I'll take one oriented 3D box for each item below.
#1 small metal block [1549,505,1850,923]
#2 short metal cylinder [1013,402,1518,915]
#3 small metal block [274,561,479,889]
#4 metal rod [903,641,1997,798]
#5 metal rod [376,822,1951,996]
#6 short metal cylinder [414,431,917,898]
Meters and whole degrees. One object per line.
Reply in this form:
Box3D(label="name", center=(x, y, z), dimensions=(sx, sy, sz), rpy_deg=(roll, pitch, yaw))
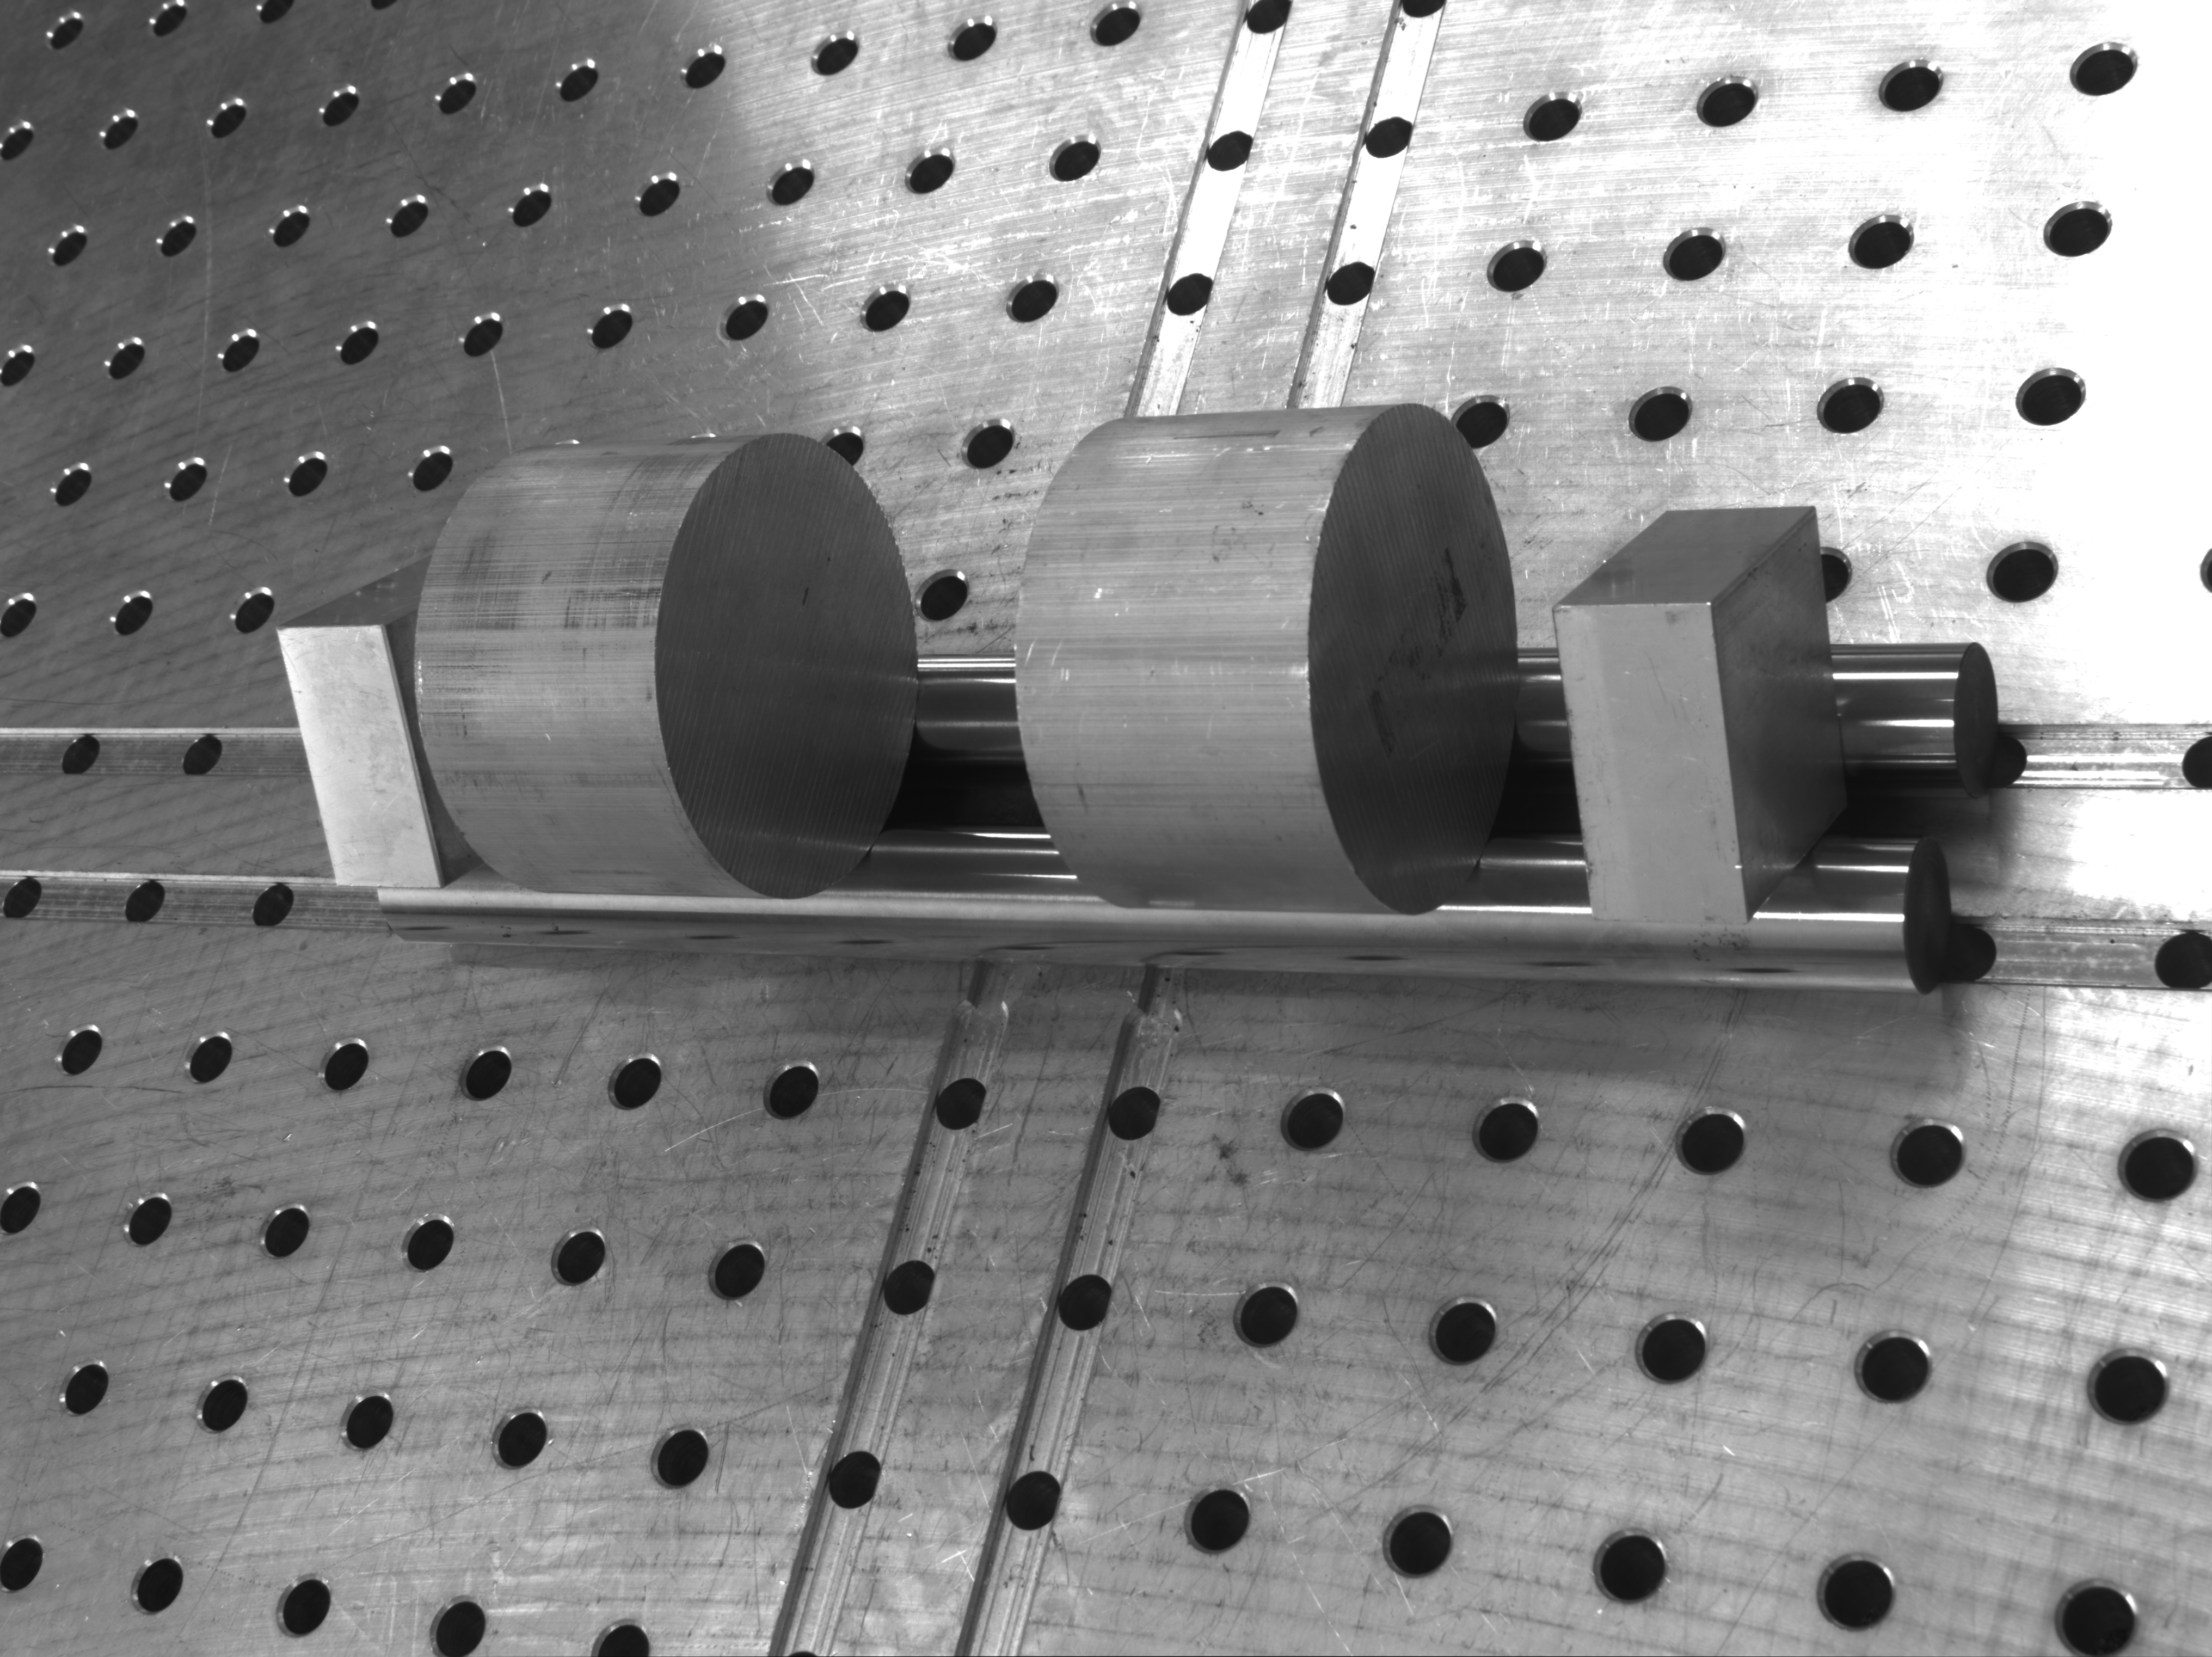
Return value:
Box3D(label="small metal block", center=(0.092, -0.018, 0.564), dimensions=(0.025, 0.050, 0.050), rpy_deg=(0, 21, 29))
Box3D(label="short metal cylinder", center=(0.027, -0.027, 0.587), dimensions=(0.050, 0.080, 0.080), rpy_deg=(1, 62, 29))
Box3D(label="small metal block", center=(-0.123, -0.021, 0.683), dimensions=(0.025, 0.050, 0.050), rpy_deg=(1, 20, 29))
Box3D(label="metal rod", center=(0.007, -0.019, 0.657), dimensions=(0.299, 0.025, 0.025), rpy_deg=(1, 62, 29))
Box3D(label="metal rod", center=(-0.003, 0.012, 0.644), dimensions=(0.299, 0.025, 0.025), rpy_deg=(1, 62, 29))
Box3D(label="short metal cylinder", center=(-0.075, -0.028, 0.643), dimensions=(0.050, 0.080, 0.080), rpy_deg=(1, 62, 29))
